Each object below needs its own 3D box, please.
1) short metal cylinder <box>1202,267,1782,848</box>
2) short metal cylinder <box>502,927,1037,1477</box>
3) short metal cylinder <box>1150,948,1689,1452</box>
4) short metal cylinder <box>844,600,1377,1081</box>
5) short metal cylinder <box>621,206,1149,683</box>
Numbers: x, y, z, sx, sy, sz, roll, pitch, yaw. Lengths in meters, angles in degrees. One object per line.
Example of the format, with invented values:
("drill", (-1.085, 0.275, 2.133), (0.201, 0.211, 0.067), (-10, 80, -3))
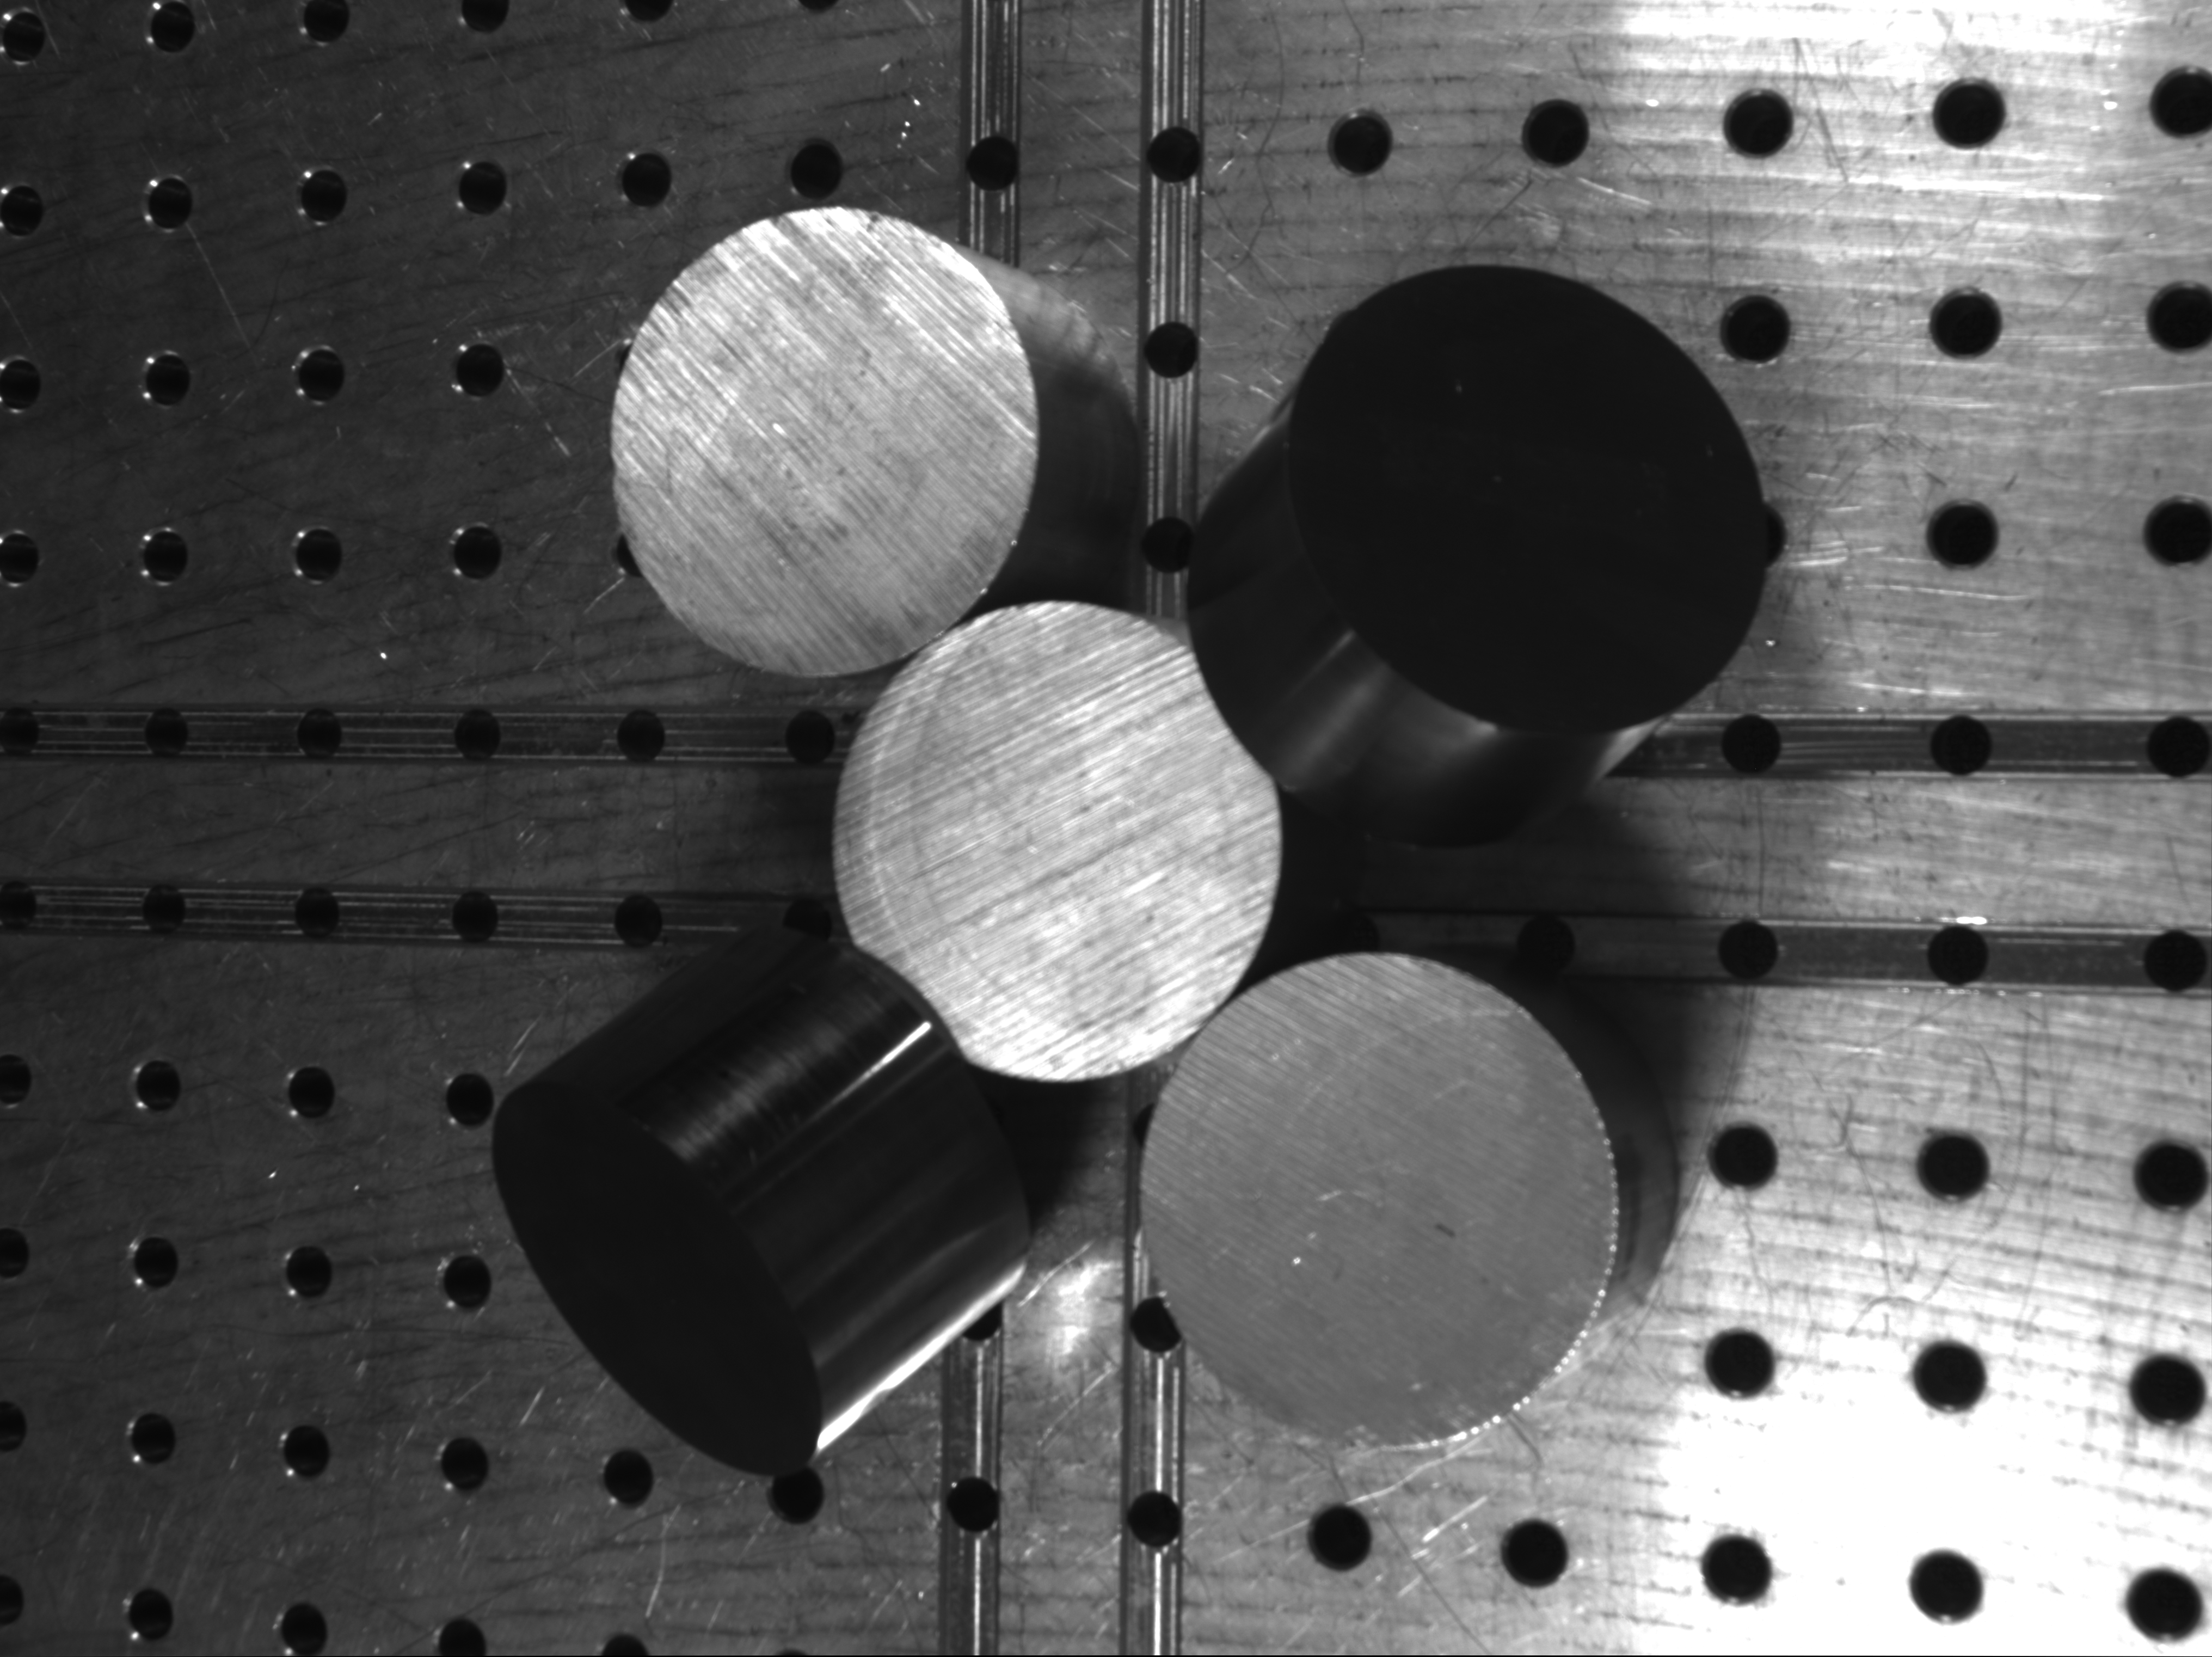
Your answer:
("short metal cylinder", (0.061, -0.043, 0.590), (0.080, 0.050, 0.080), (6, 68, -15))
("short metal cylinder", (-0.058, 0.064, 0.632), (0.080, 0.050, 0.080), (30, 140, 29))
("short metal cylinder", (0.053, 0.061, 0.614), (0.080, 0.050, 0.080), (0, 90, 20))
("short metal cylinder", (0.002, 0.002, 0.633), (0.080, 0.050, 0.080), (0, 90, 20))
("short metal cylinder", (-0.038, -0.066, 0.647), (0.080, 0.050, 0.080), (0, 90, 20))
